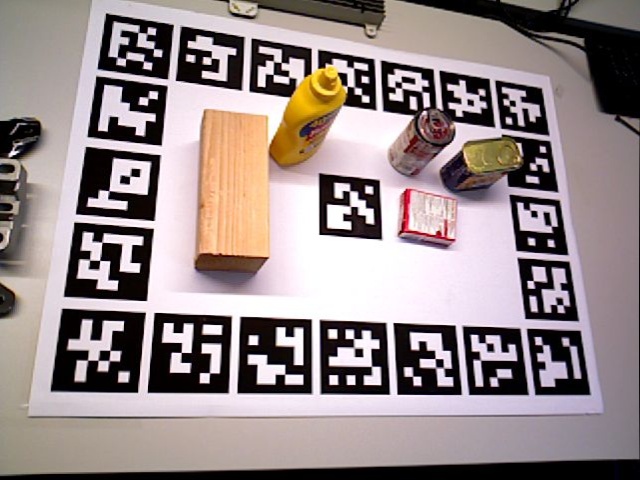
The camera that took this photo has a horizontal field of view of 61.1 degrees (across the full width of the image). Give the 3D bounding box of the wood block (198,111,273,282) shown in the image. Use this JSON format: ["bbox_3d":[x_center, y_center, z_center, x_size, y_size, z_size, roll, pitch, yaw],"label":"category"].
[{"bbox_3d":[-0.111,-0.058,0.734,0.090,0.092,0.204,5,67,-16],"label":"wood block"}]

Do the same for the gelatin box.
[{"bbox_3d":[0.182,-0.021,0.830,0.089,0.030,0.072,14,71,-8],"label":"gelatin box"}]

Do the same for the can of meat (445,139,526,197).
[{"bbox_3d":[0.261,-0.111,0.856,0.100,0.085,0.057,-9,75,-21],"label":"can of meat"}]

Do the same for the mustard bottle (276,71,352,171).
[{"bbox_3d":[-0.005,-0.165,0.746,0.094,0.195,0.058,-21,78,-23],"label":"mustard bottle"}]

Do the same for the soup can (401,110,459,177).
[{"bbox_3d":[0.172,-0.146,0.823,0.067,0.104,0.067,4,72,-14],"label":"soup can"}]
